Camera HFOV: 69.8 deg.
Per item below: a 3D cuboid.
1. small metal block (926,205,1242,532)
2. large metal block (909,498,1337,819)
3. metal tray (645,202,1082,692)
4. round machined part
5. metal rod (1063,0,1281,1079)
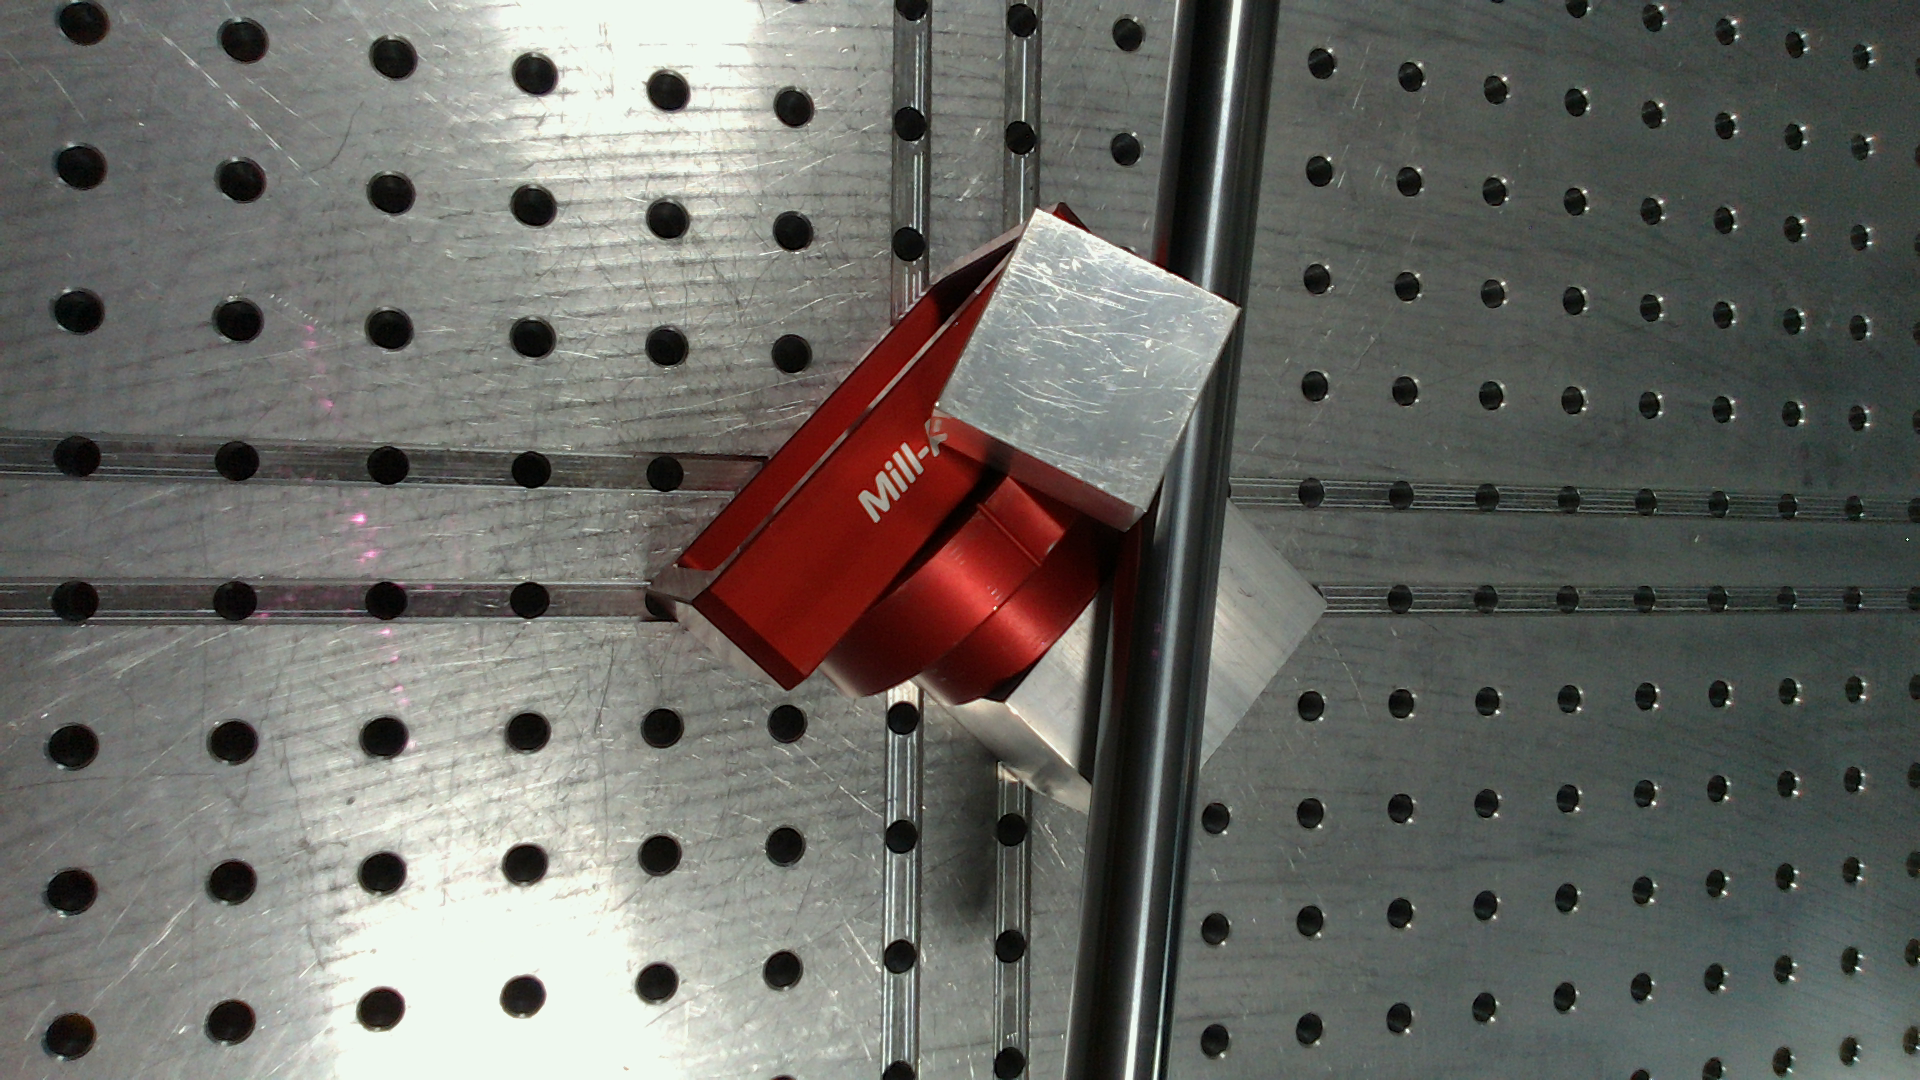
[{"bbox_3d":[0.026,-0.036,0.302,0.050,0.025,0.050,26,79,1],"label":"small metal block"},{"bbox_3d":[0.042,0.030,0.379,0.050,0.080,0.080,45,76,-14],"label":"large metal block"},{"bbox_3d":[-0.021,-0.024,0.354,0.030,0.090,0.130,45,76,-14],"label":"metal tray"},{"bbox_3d":[0.000,0.002,0.362,0.042,0.098,0.098,44,77,-15],"label":"round machined part"},{"bbox_3d":[0.049,0.014,0.329,0.025,0.025,0.300,7,88,-20],"label":"metal rod"}]
